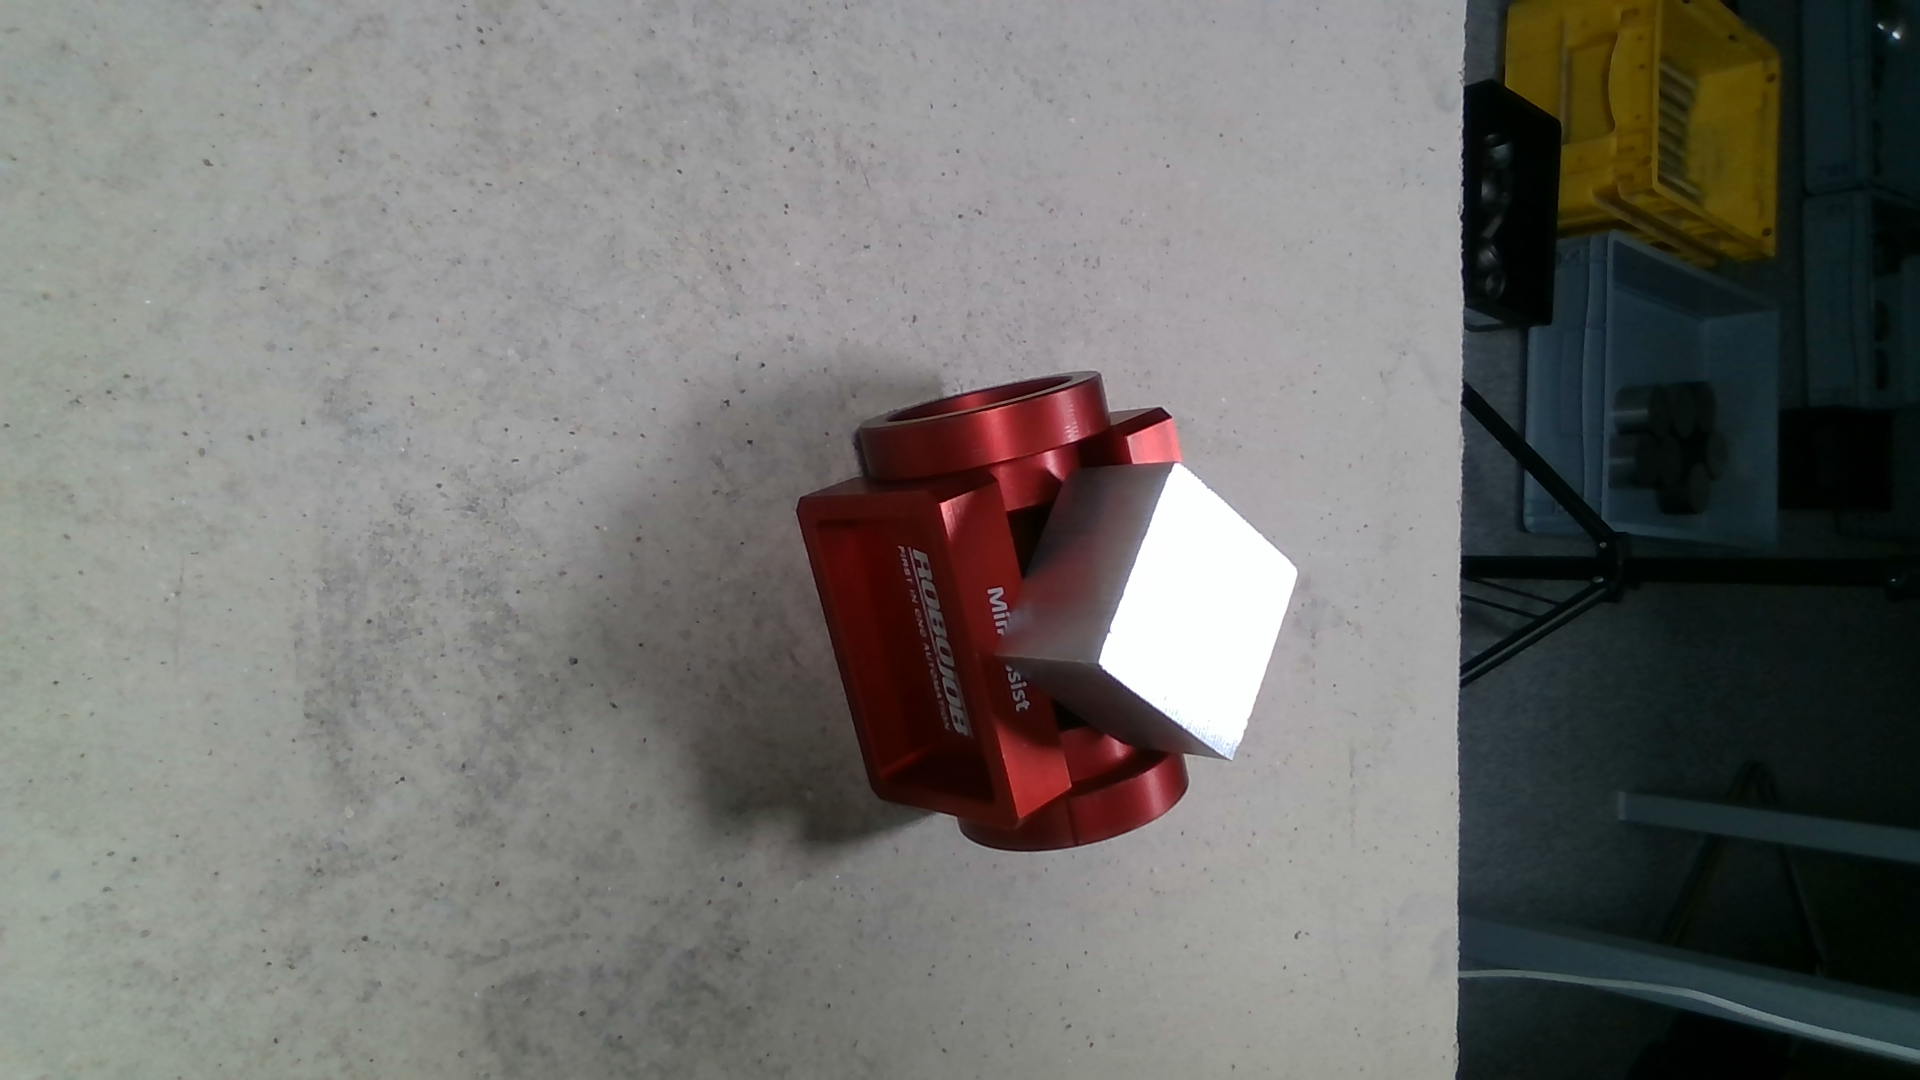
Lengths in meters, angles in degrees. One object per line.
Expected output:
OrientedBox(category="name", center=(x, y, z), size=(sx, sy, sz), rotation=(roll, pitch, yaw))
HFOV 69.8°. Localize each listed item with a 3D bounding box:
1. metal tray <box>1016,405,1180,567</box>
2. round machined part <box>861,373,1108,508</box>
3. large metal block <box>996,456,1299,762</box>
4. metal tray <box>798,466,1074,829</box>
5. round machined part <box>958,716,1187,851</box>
OrientedBox(category="metal tray", center=(0.061, 0.012, 0.593), size=(0.030, 0.090, 0.130), rotation=(-24, 105, -38))
OrientedBox(category="round machined part", center=(0.012, -0.037, 0.545), size=(0.098, 0.098, 0.042), rotation=(-20, 103, -38))
OrientedBox(category="large metal block", center=(0.071, 0.026, 0.506), size=(0.080, 0.050, 0.080), rotation=(37, 67, -34))
OrientedBox(category="metal tray", center=(-0.010, 0.040, 0.530), size=(0.030, 0.090, 0.130), rotation=(-23, 105, -38))
OrientedBox(category="round machined part", center=(0.042, 0.089, 0.571), size=(0.098, 0.098, 0.042), rotation=(-20, 103, -38))
